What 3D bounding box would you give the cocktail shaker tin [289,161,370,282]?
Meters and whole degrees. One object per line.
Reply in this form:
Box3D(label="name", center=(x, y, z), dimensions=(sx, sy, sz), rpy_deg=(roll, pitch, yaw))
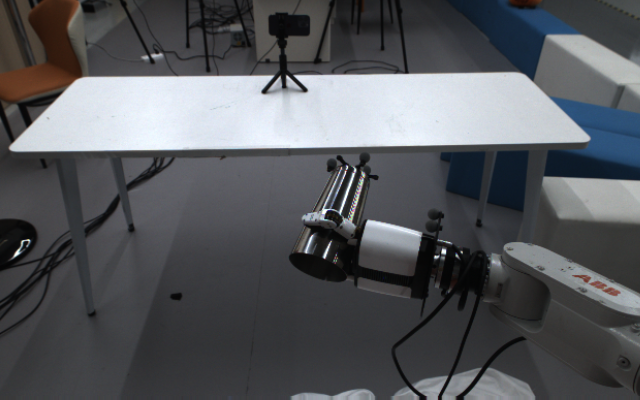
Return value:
Box3D(label="cocktail shaker tin", center=(0.021, 0.031, 0.757), dimensions=(0.093, 0.093, 0.170), rpy_deg=(14, 61, 16))
